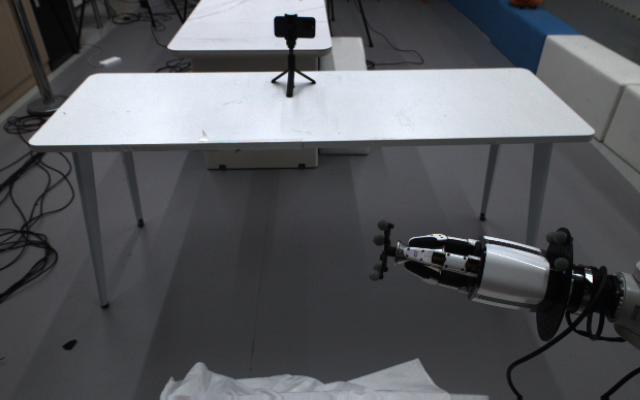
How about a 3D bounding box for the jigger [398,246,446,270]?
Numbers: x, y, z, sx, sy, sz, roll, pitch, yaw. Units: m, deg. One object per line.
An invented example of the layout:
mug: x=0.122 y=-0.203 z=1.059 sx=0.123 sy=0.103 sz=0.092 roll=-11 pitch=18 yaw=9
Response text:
jigger: x=0.155 y=0.080 z=0.720 sx=0.071 sy=0.043 sz=0.043 roll=8 pitch=35 yaw=14
